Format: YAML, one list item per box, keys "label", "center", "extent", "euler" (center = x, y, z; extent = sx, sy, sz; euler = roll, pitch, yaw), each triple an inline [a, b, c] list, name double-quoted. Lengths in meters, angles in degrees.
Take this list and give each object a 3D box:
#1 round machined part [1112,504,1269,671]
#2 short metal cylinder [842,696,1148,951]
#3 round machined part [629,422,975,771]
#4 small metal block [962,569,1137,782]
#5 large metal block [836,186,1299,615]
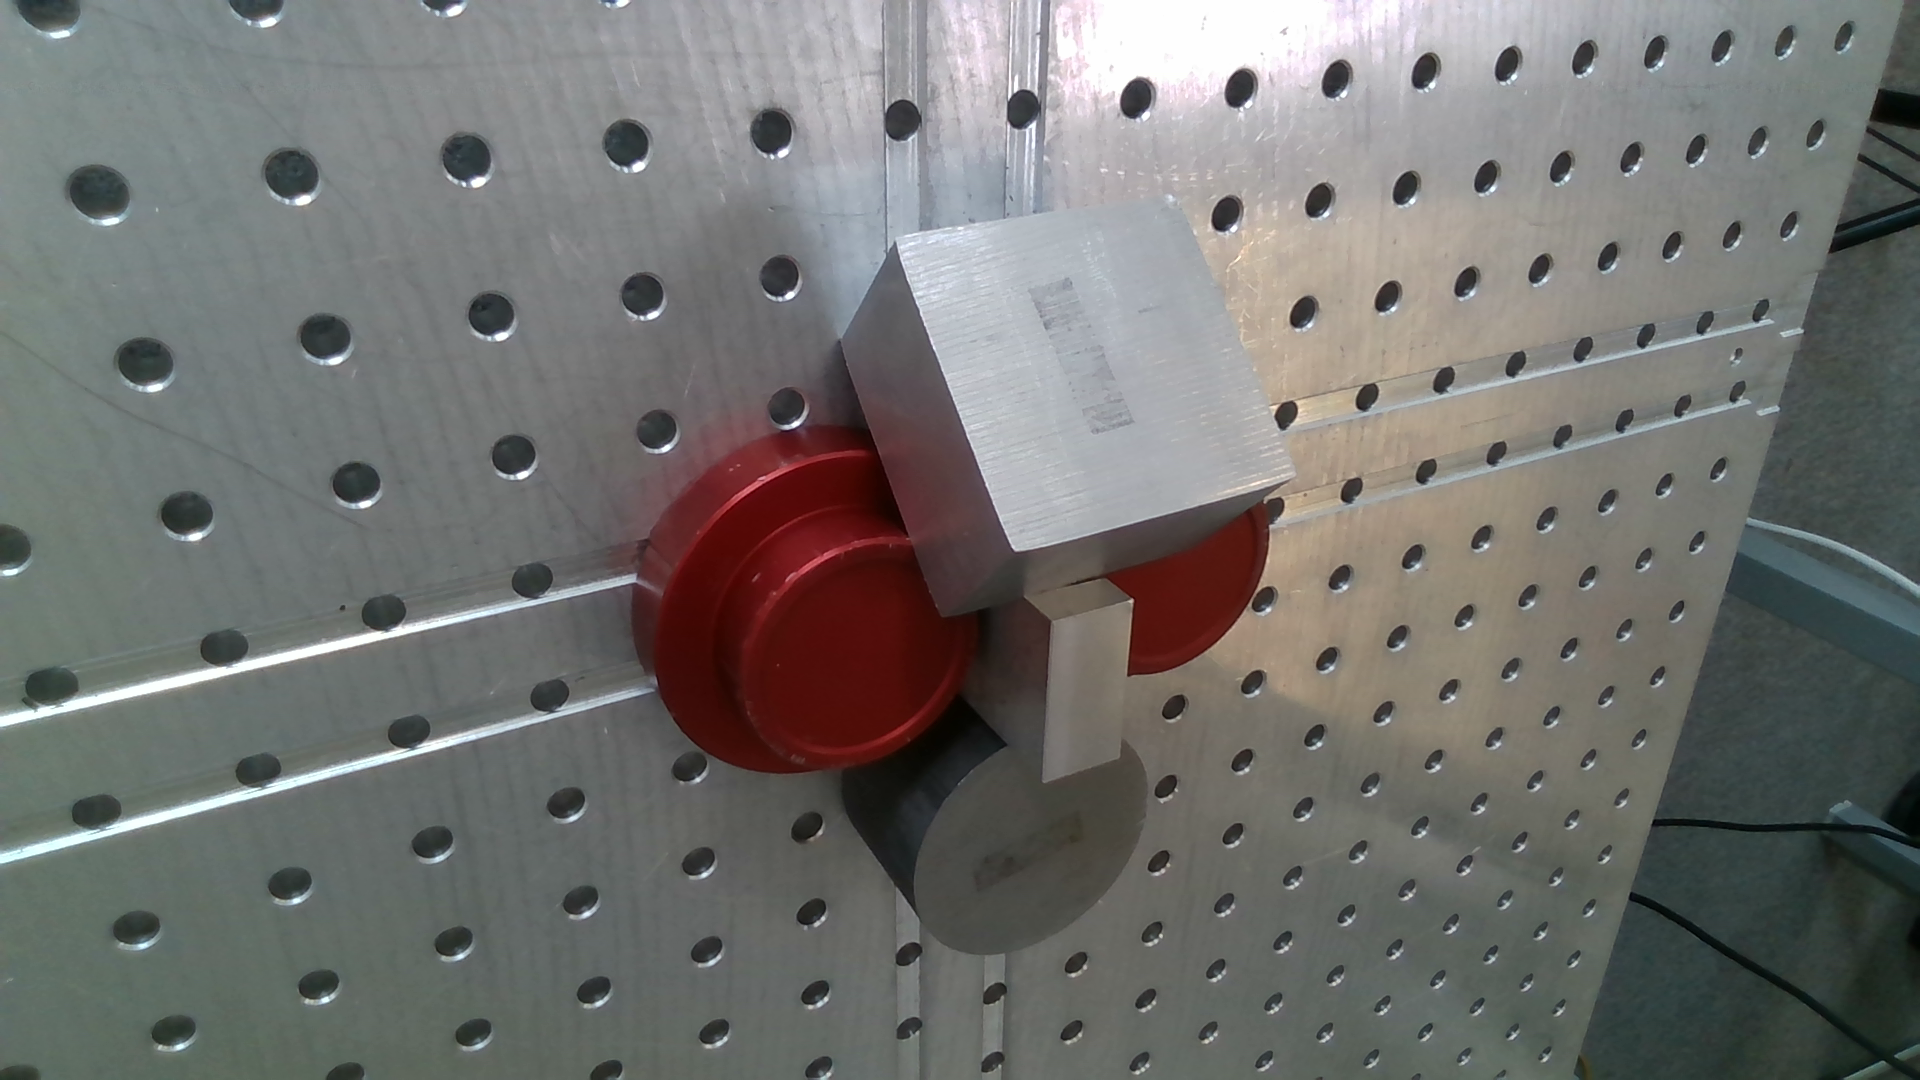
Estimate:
- label: "round machined part"
  center: [0.053, 0.000, 0.415]
  extent: [0.098, 0.042, 0.098]
  euler: [-14, 122, -25]
- label: "short metal cylinder"
  center: [0.010, 0.078, 0.424]
  extent: [0.080, 0.050, 0.080]
  euler: [-14, 122, -25]
- label: "round machined part"
  center: [-0.035, 0.021, 0.372]
  extent: [0.098, 0.042, 0.098]
  euler: [-14, 122, -25]
- label: "small metal block"
  center: [0.022, 0.029, 0.378]
  extent: [0.025, 0.050, 0.050]
  euler: [-13, 121, -26]
- label: "large metal block"
  center: [0.025, -0.036, 0.346]
  extent: [0.080, 0.080, 0.050]
  euler: [-15, 166, -24]
